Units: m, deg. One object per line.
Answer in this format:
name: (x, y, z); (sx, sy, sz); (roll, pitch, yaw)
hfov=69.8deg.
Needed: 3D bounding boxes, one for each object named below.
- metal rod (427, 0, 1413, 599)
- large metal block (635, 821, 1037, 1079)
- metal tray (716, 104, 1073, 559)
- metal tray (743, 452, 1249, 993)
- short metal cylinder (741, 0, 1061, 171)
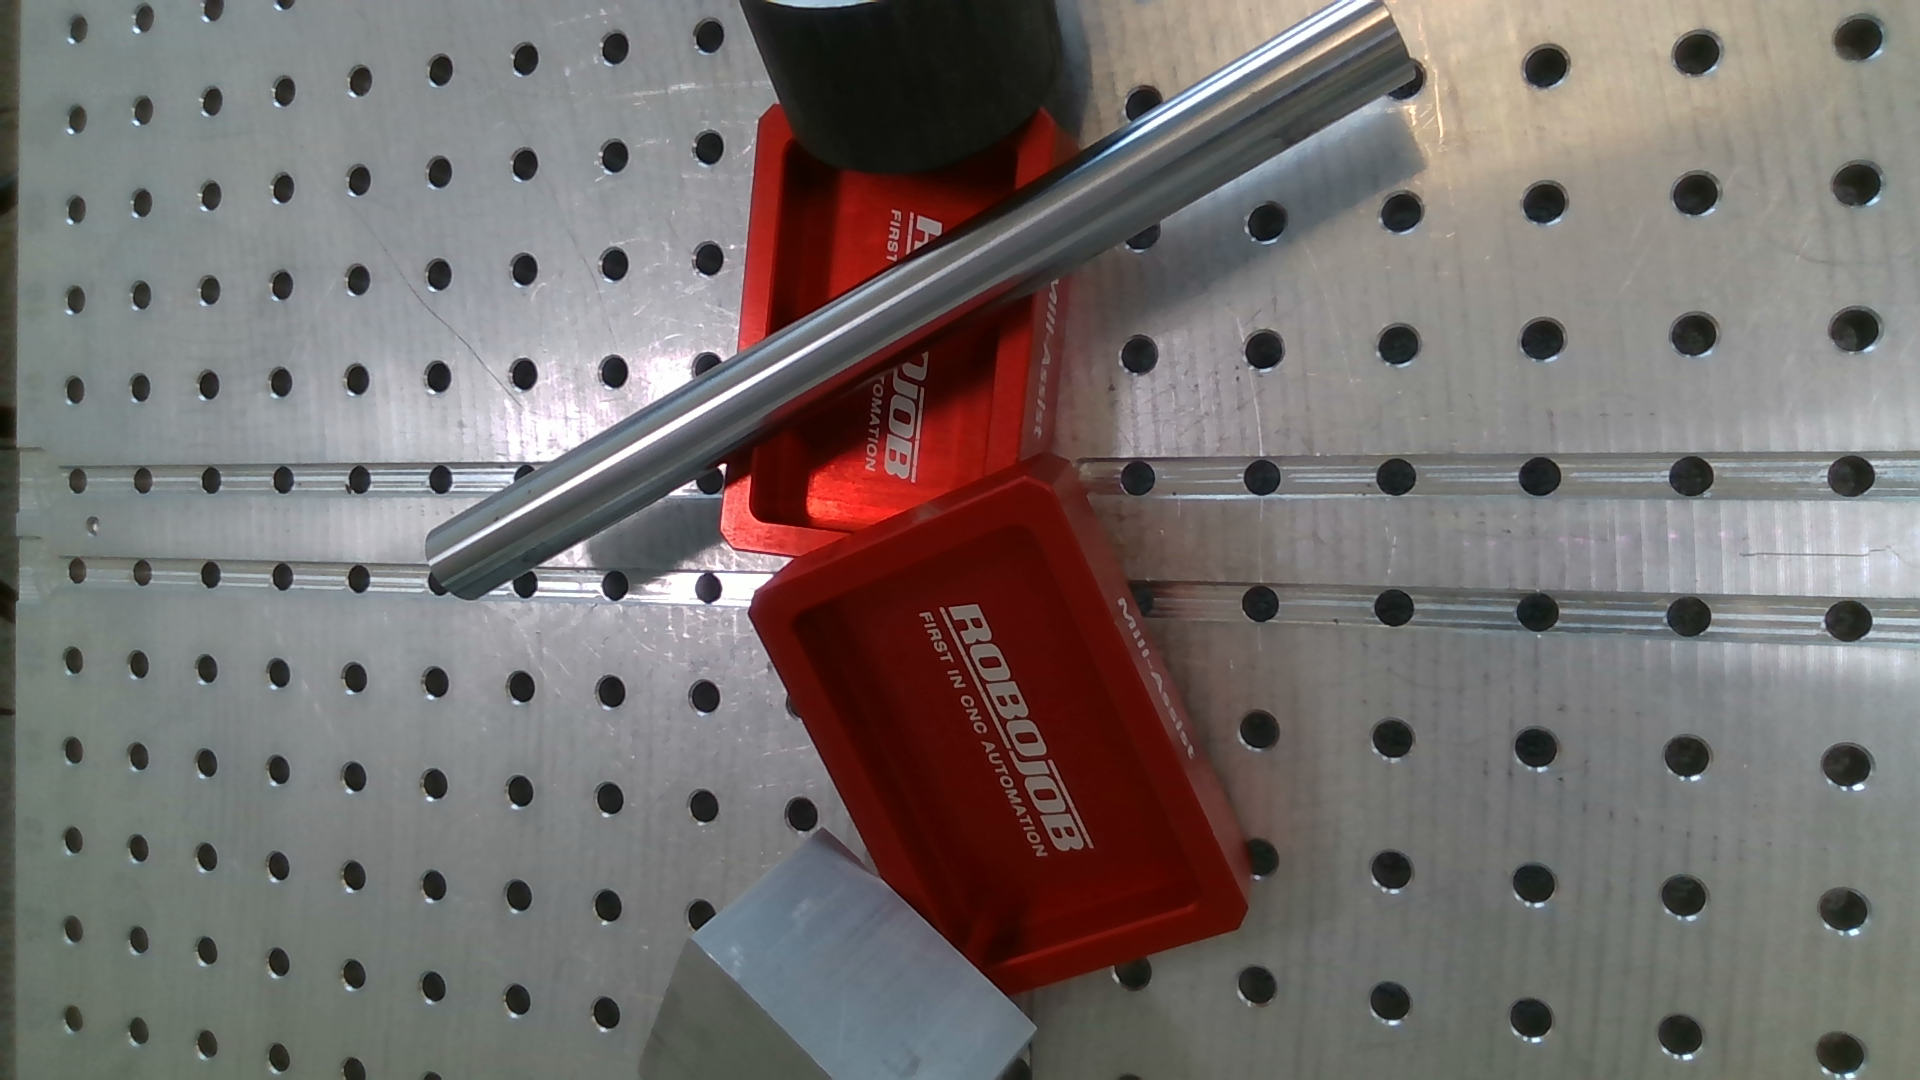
metal rod: (-0.026, -0.057, 0.373); (0.300, 0.025, 0.025); (-27, 81, 18)
large metal block: (-0.037, 0.139, 0.379); (0.080, 0.050, 0.080); (40, 134, 16)
metal tray: (-0.018, -0.057, 0.400); (0.090, 0.030, 0.130); (7, 93, 20)
metal tray: (0.011, 0.053, 0.370); (0.090, 0.030, 0.130); (-23, 99, 19)
short metal cylinder: (-0.016, -0.146, 0.369); (0.080, 0.050, 0.080); (-8, 54, 11)
